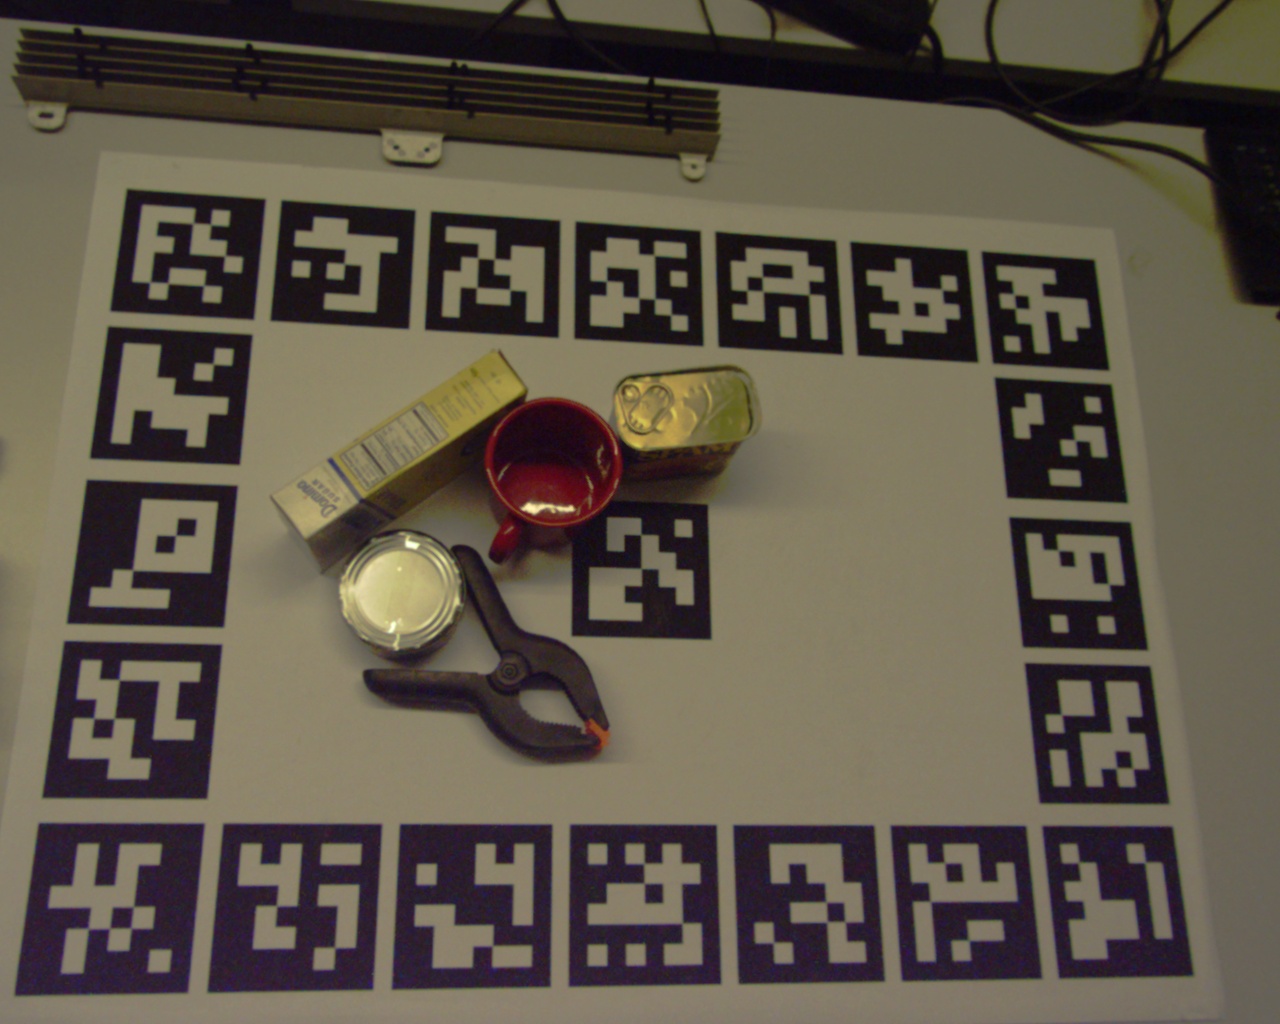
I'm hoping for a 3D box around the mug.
[{"bbox_3d":[-0.079,-0.010,0.816,0.093,0.082,0.117,27,74,-2],"label":"mug"}]

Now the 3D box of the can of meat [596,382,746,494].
[{"bbox_3d":[0.018,-0.053,0.851,0.101,0.084,0.058,-6,75,-12],"label":"can of meat"}]

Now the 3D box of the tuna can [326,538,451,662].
[{"bbox_3d":[-0.178,0.063,0.808,0.085,0.034,0.086,2,77,-8],"label":"tuna can"}]

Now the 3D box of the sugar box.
[{"bbox_3d":[-0.171,-0.027,0.810,0.175,0.093,0.045,-36,82,-18],"label":"sugar box"}]

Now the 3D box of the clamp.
[{"bbox_3d":[-0.102,0.121,0.810,0.165,0.037,0.121,37,68,-2],"label":"clamp"}]
